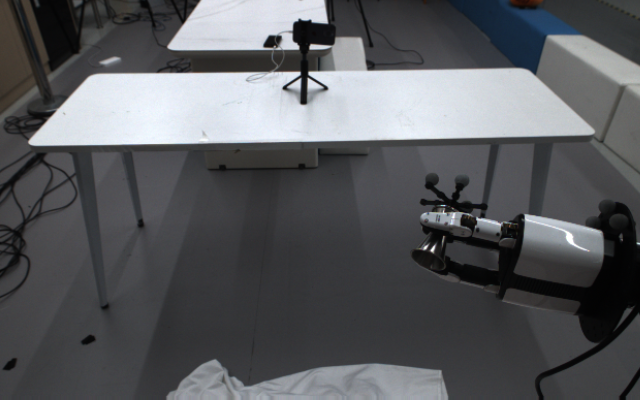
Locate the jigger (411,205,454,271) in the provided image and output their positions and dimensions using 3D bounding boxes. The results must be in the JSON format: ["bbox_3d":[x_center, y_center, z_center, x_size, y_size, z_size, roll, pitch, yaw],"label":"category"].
[{"bbox_3d":[0.141,0.040,0.581,0.043,0.043,0.071,19,61,23],"label":"jigger"}]
